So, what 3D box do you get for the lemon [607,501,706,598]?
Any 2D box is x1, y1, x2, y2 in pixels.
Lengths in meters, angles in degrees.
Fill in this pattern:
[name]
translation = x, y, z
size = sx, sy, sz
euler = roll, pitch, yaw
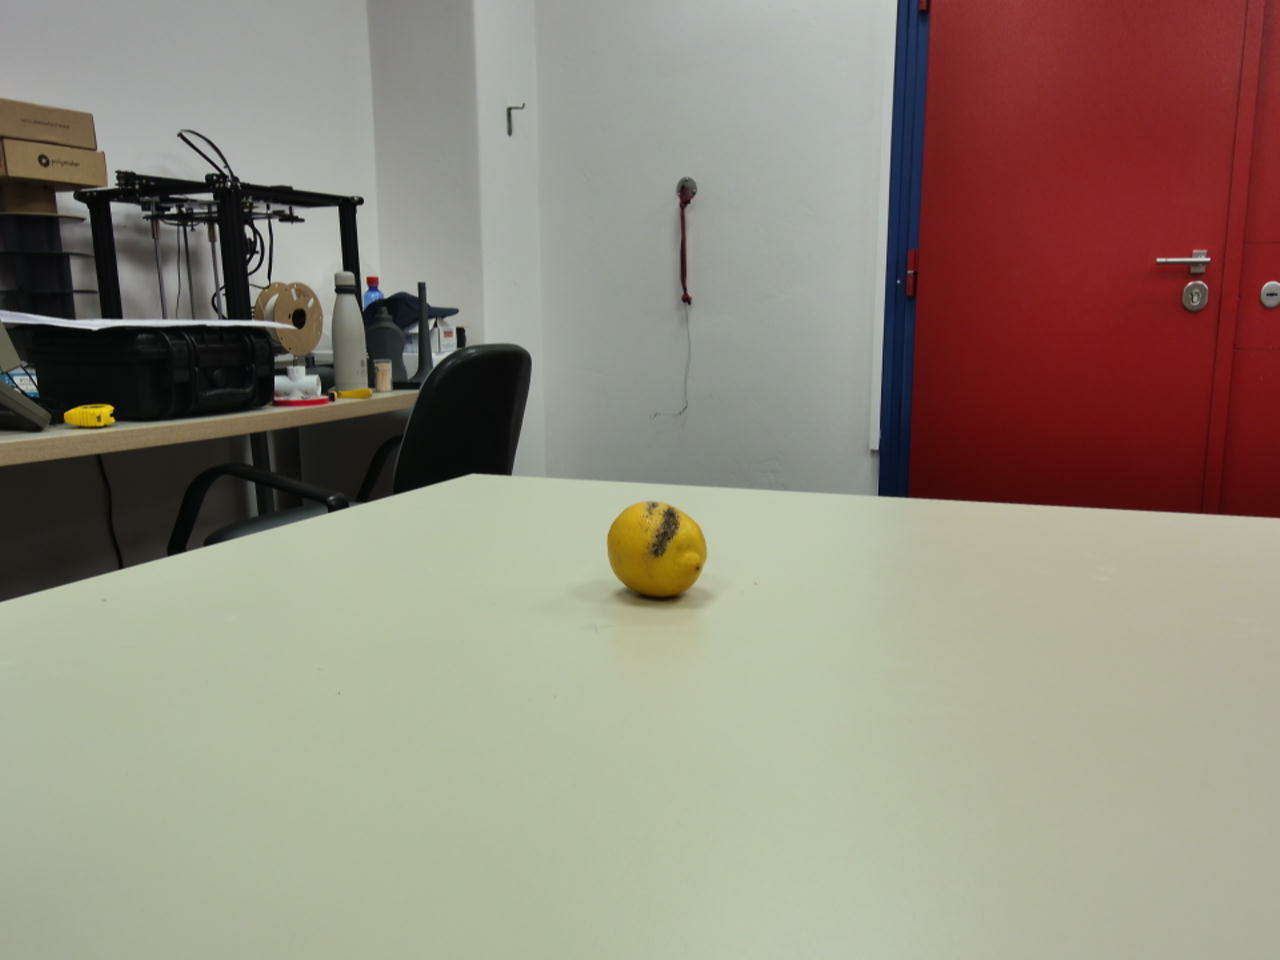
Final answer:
[lemon]
translation = 0.010, 0.042, 0.602
size = 0.061, 0.056, 0.058
euler = 3, 8, 15
